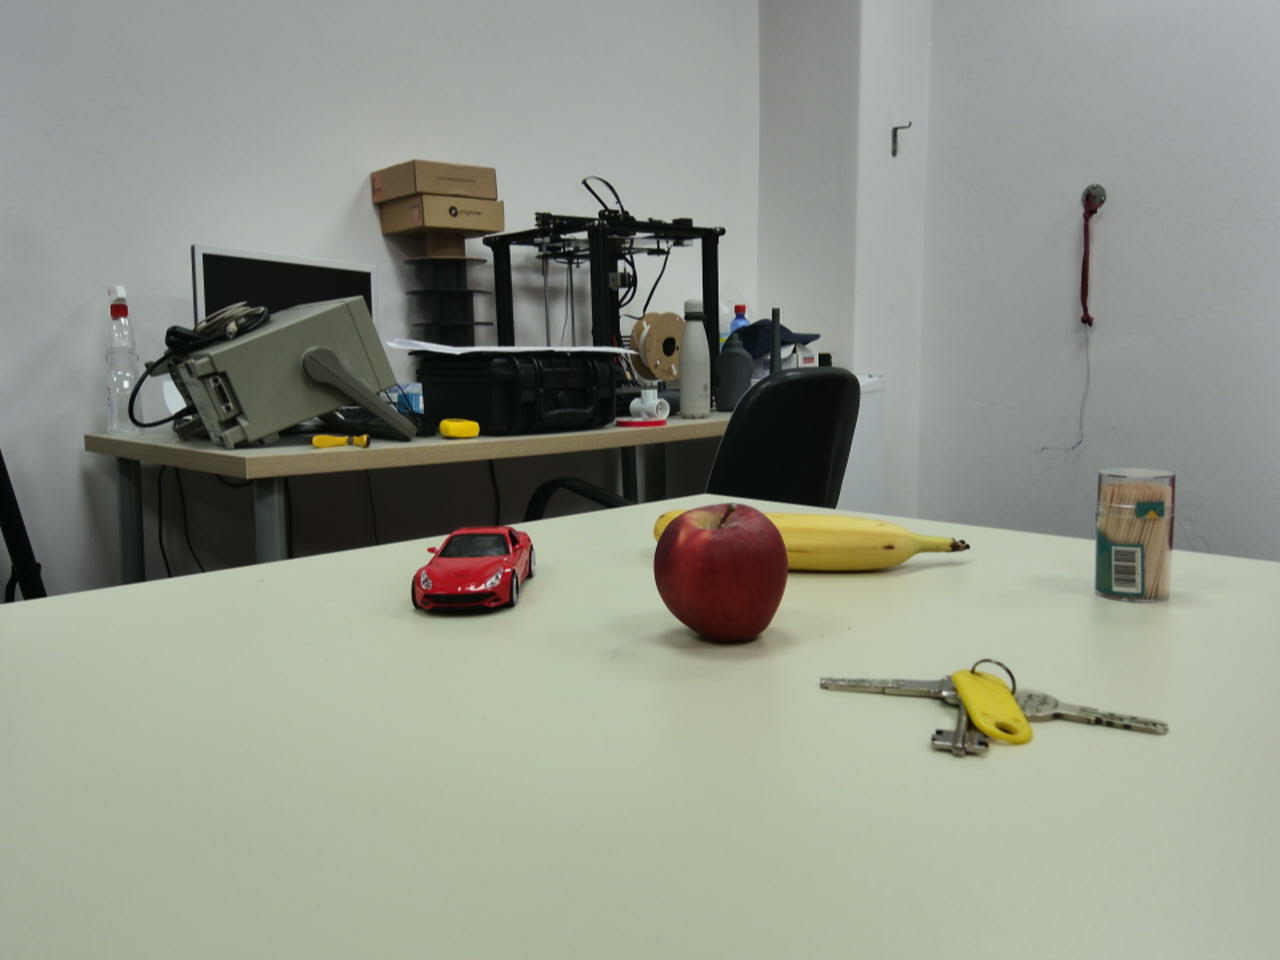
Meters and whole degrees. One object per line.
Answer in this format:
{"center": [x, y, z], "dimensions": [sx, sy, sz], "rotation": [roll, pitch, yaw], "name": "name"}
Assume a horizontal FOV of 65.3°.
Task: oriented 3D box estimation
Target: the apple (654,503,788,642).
{"center": [0.042, 0.046, 0.520], "dimensions": [0.070, 0.072, 0.070], "rotation": [0, 5, 0], "name": "apple"}
